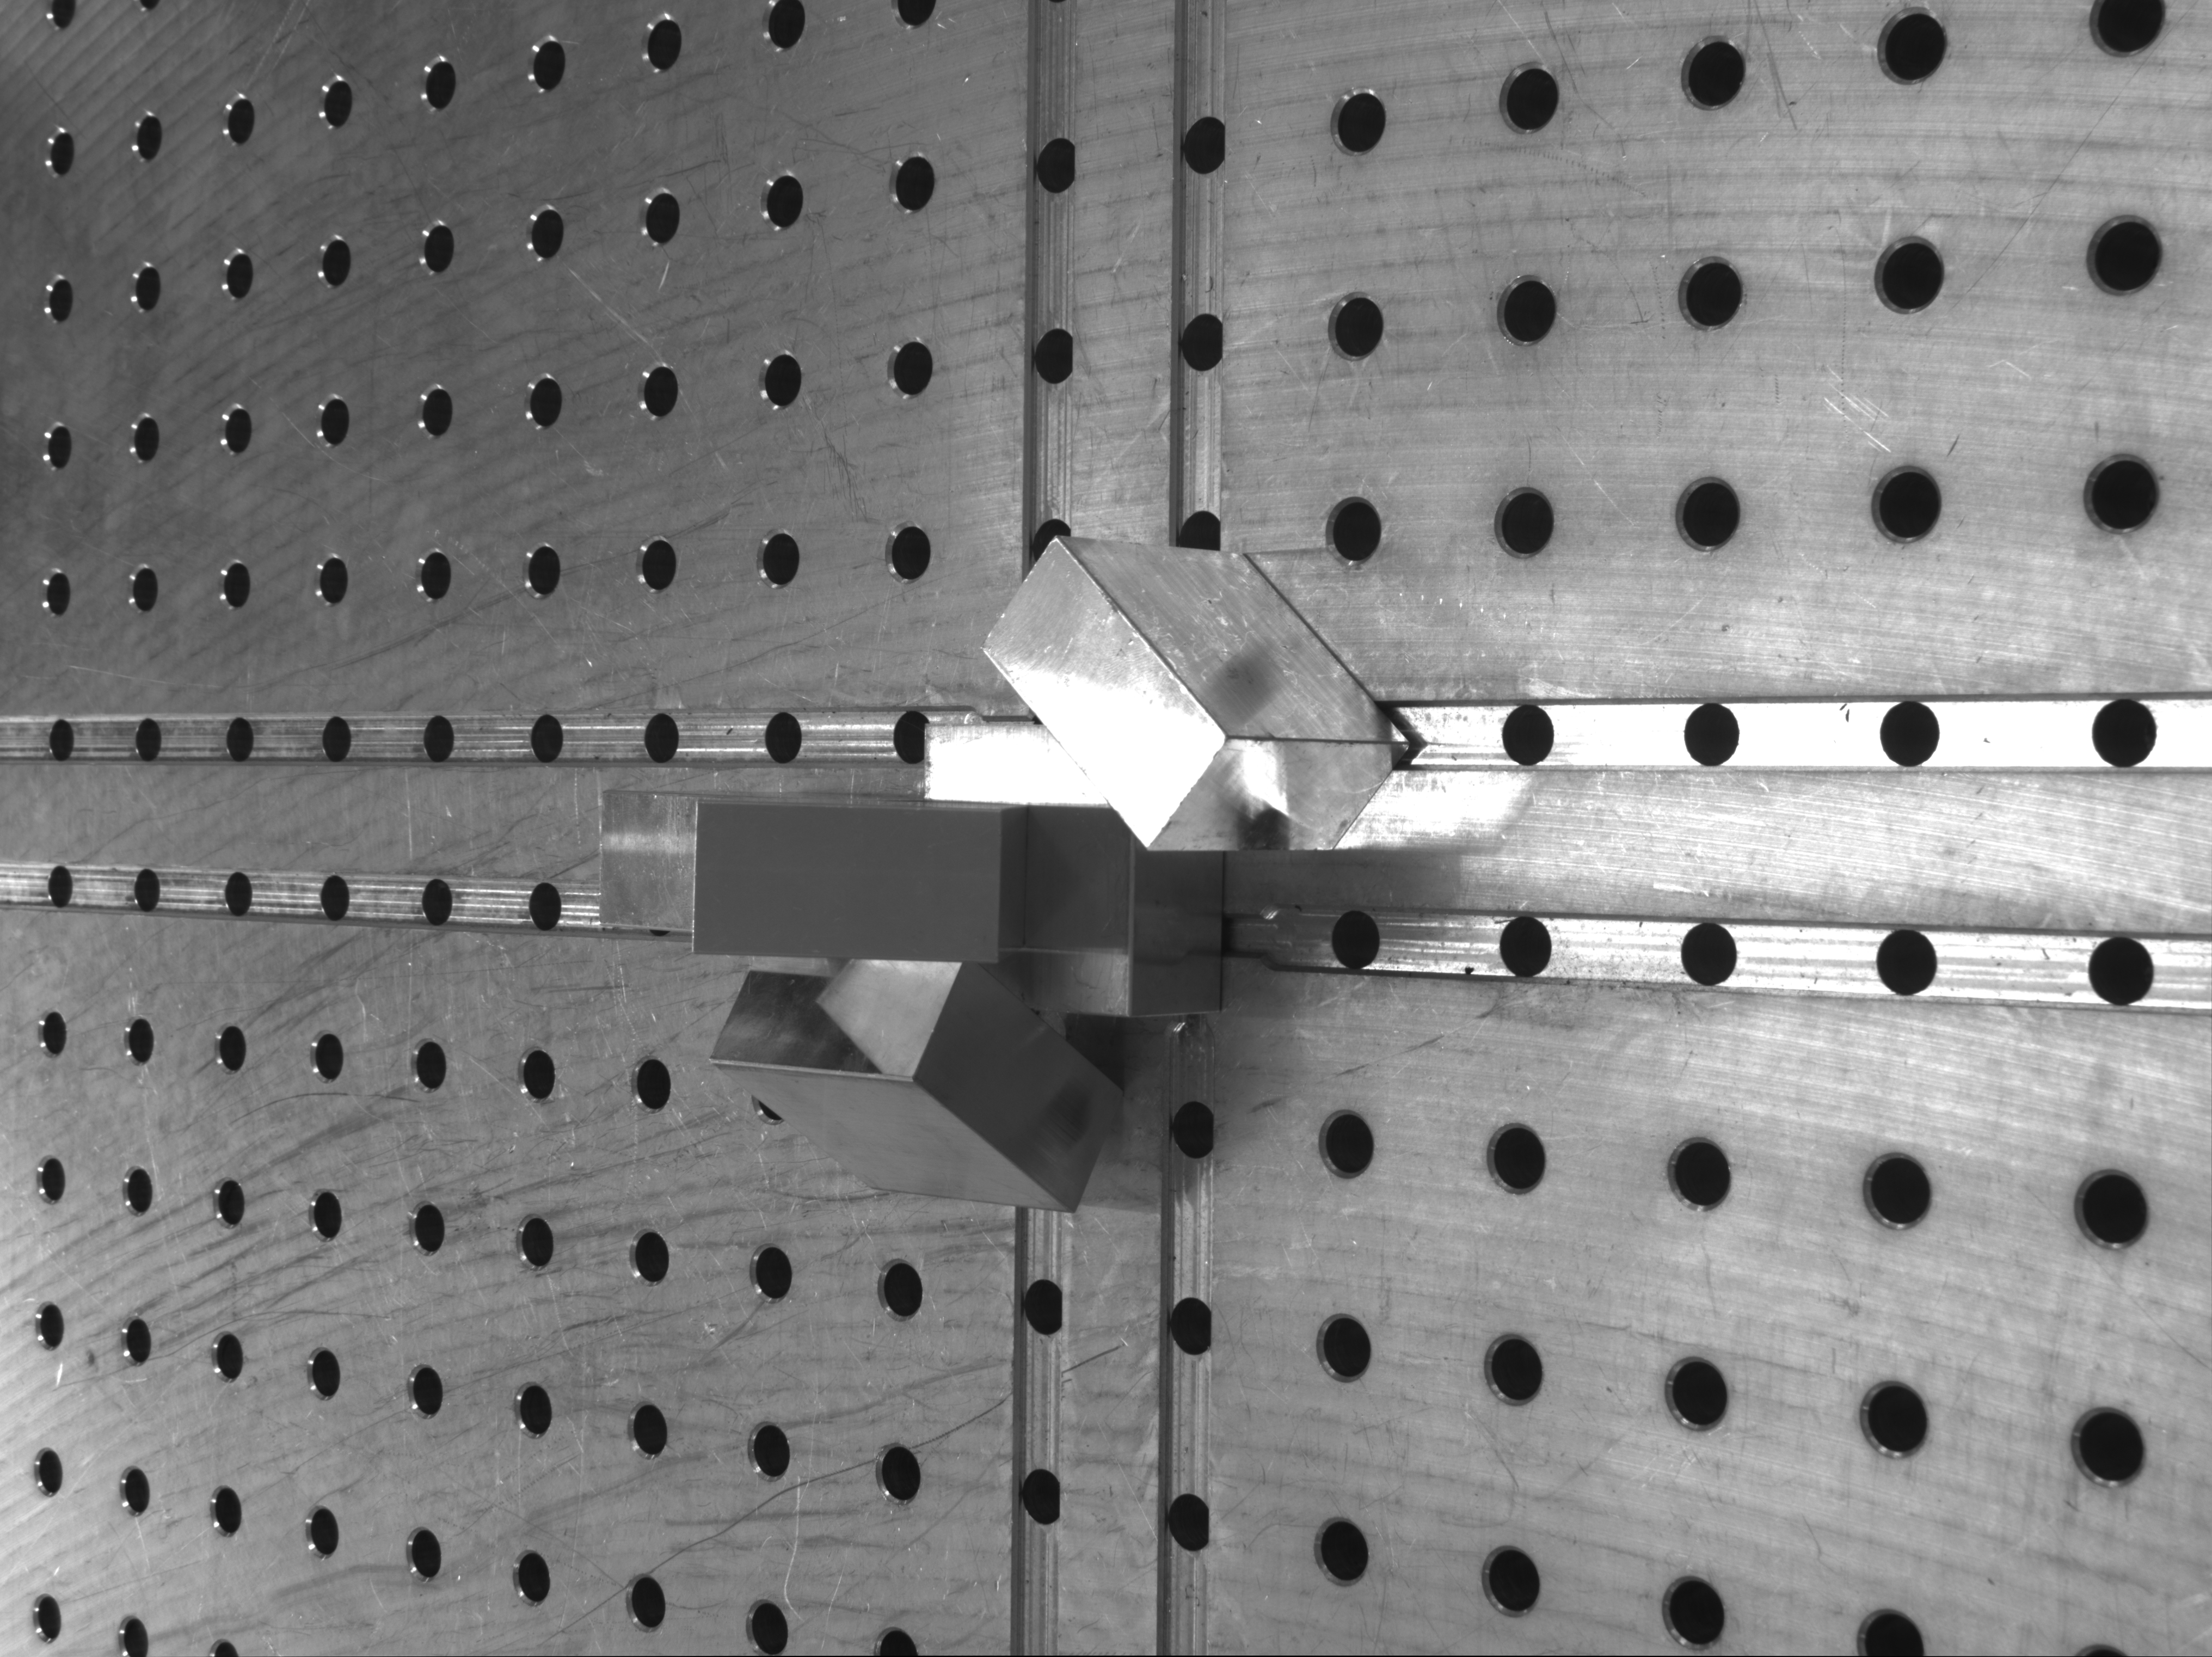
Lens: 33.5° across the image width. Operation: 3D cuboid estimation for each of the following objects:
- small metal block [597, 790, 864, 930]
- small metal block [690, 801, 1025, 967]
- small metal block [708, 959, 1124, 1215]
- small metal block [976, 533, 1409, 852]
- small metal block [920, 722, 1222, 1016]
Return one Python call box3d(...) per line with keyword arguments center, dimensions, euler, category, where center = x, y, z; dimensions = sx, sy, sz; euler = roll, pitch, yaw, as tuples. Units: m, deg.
box3d(center=(-0.059, 0.006, 0.682), dimensions=(0.050, 0.050, 0.025), euler=(2, 92, 41), category="small metal block")
box3d(center=(-0.041, 0.008, 0.621), dimensions=(0.050, 0.050, 0.025), euler=(2, 92, 3), category="small metal block")
box3d(center=(-0.034, 0.044, 0.658), dimensions=(0.050, 0.050, 0.025), euler=(2, 59, 40), category="small metal block")
box3d(center=(0.015, -0.022, 0.620), dimensions=(0.050, 0.050, 0.025), euler=(51, 119, 28), category="small metal block")
box3d(center=(-0.007, 0.006, 0.654), dimensions=(0.050, 0.025, 0.050), euler=(2, 91, 39), category="small metal block")
